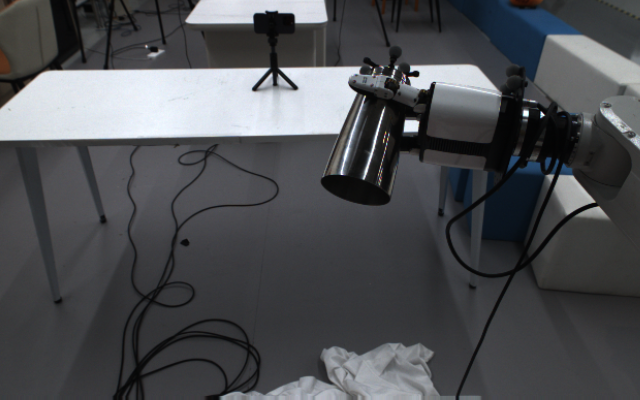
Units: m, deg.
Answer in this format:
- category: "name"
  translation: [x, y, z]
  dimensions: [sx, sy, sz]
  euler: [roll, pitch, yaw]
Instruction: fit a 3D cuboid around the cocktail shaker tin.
- category: "cocktail shaker tin"
  translation: [0.070, -0.092, 0.643]
  dimensions: [0.093, 0.093, 0.170]
  euler: [13, 71, 16]
